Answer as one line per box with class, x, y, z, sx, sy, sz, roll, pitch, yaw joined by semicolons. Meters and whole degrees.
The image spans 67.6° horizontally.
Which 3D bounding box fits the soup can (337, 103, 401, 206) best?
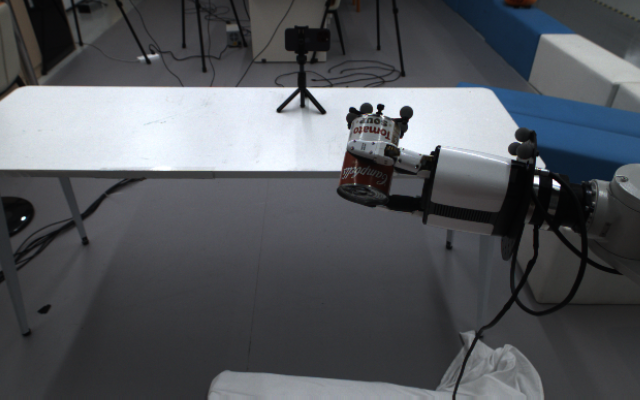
soup can;0.065;-0.054;0.629;0.067;0.067;0.101;9;72;10
